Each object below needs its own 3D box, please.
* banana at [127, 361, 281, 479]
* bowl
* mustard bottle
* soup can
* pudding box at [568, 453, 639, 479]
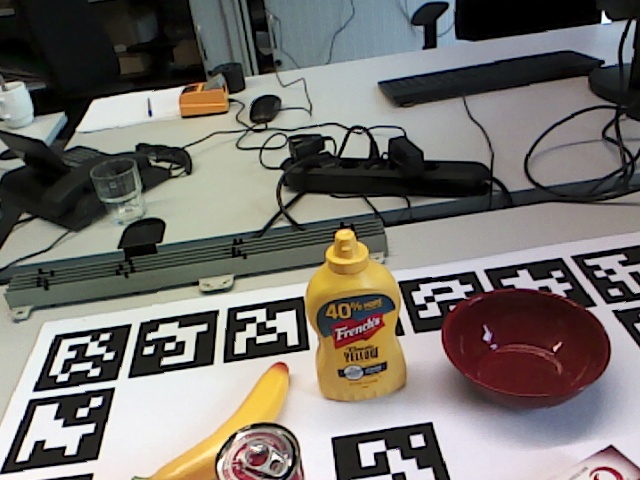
[{"bbox_3d":[-0.098,0.189,0.628,0.075,0.039,0.196,8,35,41],"label":"banana"},{"bbox_3d":[0.214,0.128,0.641,0.162,0.055,0.162,-7,32,4],"label":"bowl"},{"bbox_3d":[0.034,0.074,0.615,0.096,0.191,0.058,-7,30,0],"label":"mustard bottle"},{"bbox_3d":[-0.054,0.209,0.511,0.068,0.102,0.068,-4,31,2],"label":"soup can"},{"bbox_3d":[0.220,0.234,0.484,0.113,0.038,0.090,-21,40,-19],"label":"pudding box"}]
